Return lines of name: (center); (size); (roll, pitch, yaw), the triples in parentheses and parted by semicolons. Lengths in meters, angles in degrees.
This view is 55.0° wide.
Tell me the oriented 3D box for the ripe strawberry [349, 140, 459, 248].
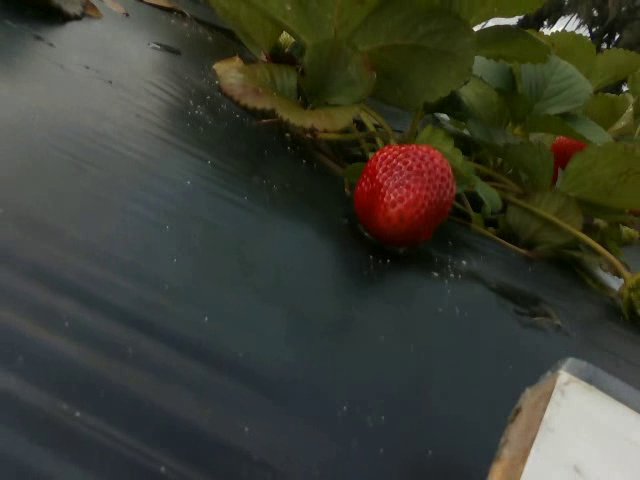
ripe strawberry: (0.028, -0.014, 0.192); (0.036, 0.040, 0.046); (10, 12, 11)
